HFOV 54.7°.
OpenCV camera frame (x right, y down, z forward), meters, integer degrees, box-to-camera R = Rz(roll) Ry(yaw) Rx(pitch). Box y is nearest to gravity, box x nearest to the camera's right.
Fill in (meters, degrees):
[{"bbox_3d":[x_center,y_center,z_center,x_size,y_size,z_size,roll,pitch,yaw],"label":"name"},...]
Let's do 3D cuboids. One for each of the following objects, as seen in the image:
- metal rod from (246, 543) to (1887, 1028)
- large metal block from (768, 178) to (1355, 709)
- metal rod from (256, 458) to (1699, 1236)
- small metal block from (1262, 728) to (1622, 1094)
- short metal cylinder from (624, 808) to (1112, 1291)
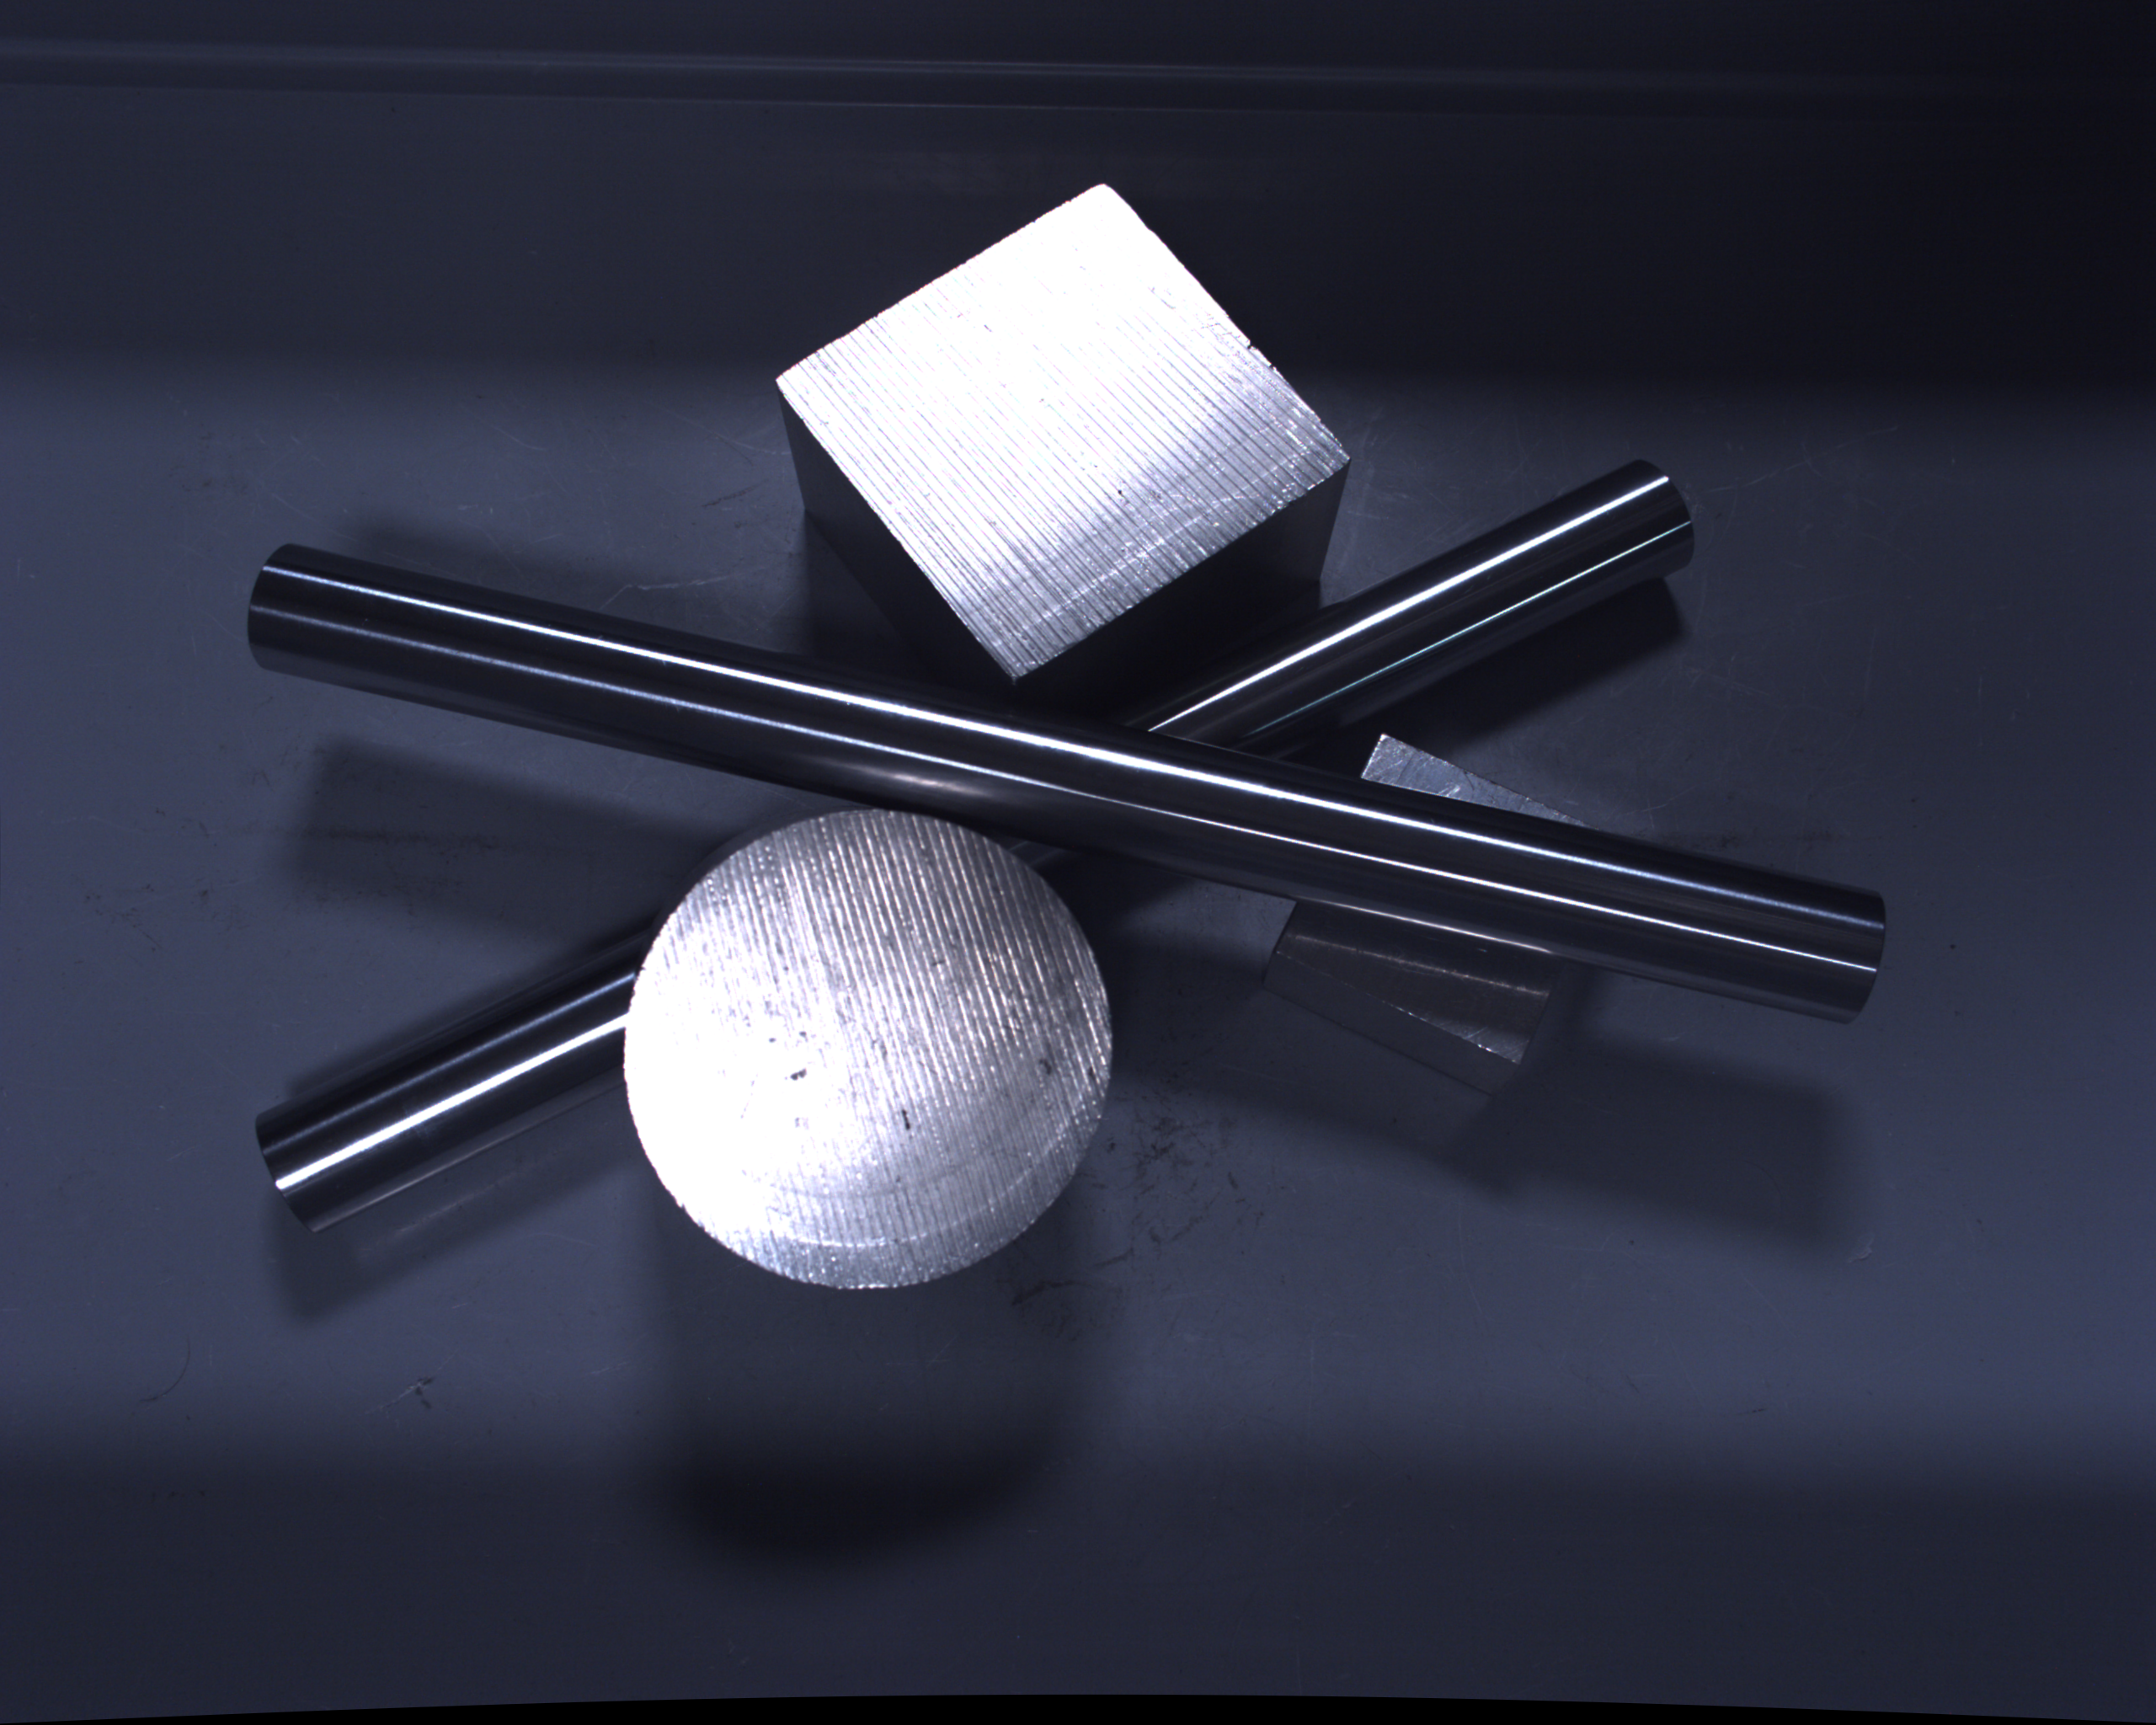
[{"bbox_3d":[-0.005,-0.016,0.387,0.302,0.025,0.025,13,71,4],"label":"metal rod"},{"bbox_3d":[-0.004,-0.077,0.422,0.080,0.050,0.080,-34,74,-12],"label":"large metal block"},{"bbox_3d":[-0.012,-0.008,0.410,0.302,0.025,0.025,-26,72,-10],"label":"metal rod"},{"bbox_3d":[0.070,0.010,0.404,0.050,0.025,0.050,25,72,8],"label":"small metal block"},{"bbox_3d":[-0.039,0.030,0.368,0.081,0.050,0.079,0,92,-12],"label":"short metal cylinder"}]
